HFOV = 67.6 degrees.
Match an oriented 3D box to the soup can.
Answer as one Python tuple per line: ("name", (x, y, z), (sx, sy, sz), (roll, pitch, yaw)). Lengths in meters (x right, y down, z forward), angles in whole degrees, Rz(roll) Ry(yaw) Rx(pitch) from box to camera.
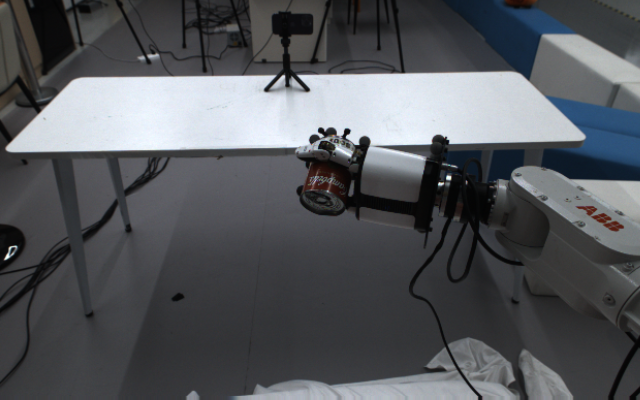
("soup can", (0.015, -0.037, 0.709), (0.067, 0.067, 0.101), (9, 58, 10))
